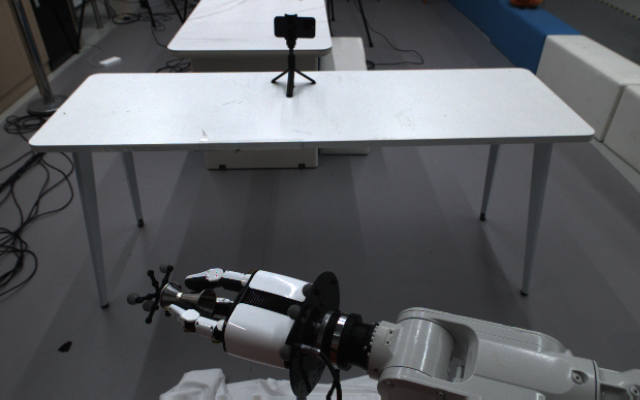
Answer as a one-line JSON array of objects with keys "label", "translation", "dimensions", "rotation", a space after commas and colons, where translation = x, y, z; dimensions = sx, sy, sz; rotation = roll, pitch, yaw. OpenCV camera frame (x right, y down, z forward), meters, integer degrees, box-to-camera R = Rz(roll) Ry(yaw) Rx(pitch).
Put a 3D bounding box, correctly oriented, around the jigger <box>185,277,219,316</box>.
[{"label": "jigger", "translation": [-0.180, 0.136, 0.690], "dimensions": [0.071, 0.043, 0.043], "rotation": [5, 33, 24]}]
